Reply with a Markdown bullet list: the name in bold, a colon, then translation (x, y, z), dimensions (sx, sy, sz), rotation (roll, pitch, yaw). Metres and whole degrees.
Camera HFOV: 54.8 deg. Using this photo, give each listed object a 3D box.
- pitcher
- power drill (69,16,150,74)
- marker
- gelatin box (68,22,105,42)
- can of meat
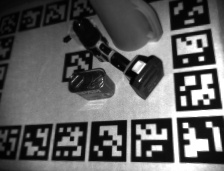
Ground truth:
- **pitcher**: translation (0.031, -0.207, 0.536), dimensions (0.186, 0.246, 0.133), rotation (25, 86, 33)
- **power drill**: translation (-0.003, -0.096, 0.538), dimensions (0.185, 0.186, 0.057), rotation (29, 87, 21)
- **marker**: translation (-0.119, -0.195, 0.704), dimensions (0.121, 0.020, 0.019), rotation (-34, 64, 8)
- **gelatin box**: translation (-0.075, -0.159, 0.649), dimensions (0.088, 0.074, 0.030), rotation (2, 77, 20)
- **can of meat**: translation (-0.048, -0.012, 0.579), dimensions (0.101, 0.085, 0.057), rotation (-10, 67, 18)
